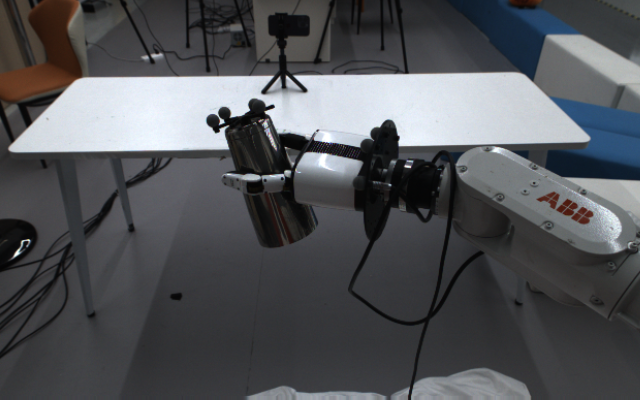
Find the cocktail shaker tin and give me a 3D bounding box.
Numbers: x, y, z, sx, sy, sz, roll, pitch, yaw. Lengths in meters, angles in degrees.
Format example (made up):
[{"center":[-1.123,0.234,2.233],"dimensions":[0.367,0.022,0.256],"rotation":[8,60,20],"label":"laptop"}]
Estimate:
[{"center":[-0.073,-0.029,0.682],"dimensions":[0.093,0.170,0.093],"rotation":[-17,21,7],"label":"cocktail shaker tin"}]
